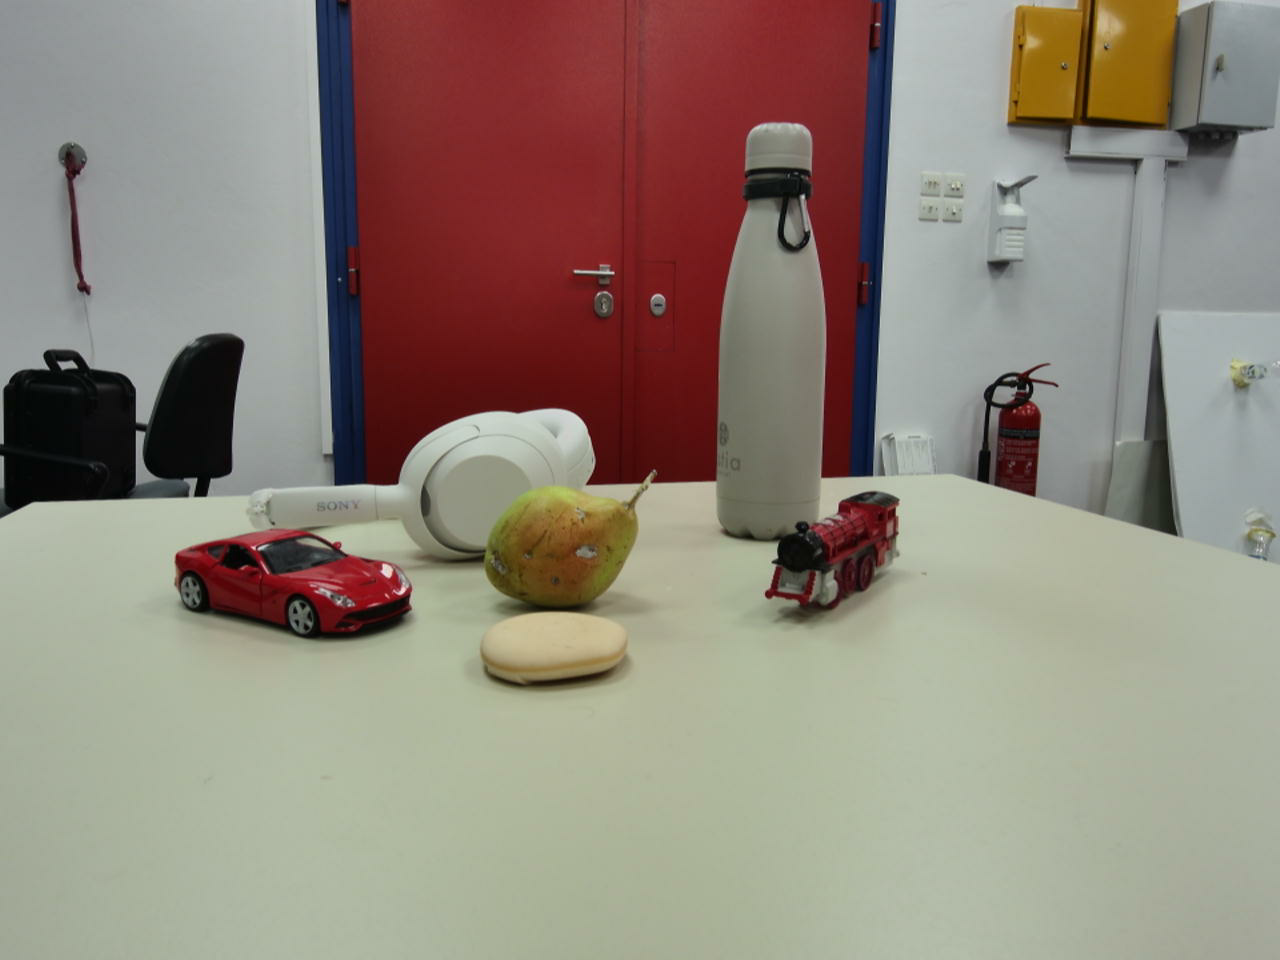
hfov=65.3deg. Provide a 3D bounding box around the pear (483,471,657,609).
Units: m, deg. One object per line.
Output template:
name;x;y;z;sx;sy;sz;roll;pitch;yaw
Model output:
pear;-0.040;0.030;0.511;0.070;0.069;0.068;5;8;38
